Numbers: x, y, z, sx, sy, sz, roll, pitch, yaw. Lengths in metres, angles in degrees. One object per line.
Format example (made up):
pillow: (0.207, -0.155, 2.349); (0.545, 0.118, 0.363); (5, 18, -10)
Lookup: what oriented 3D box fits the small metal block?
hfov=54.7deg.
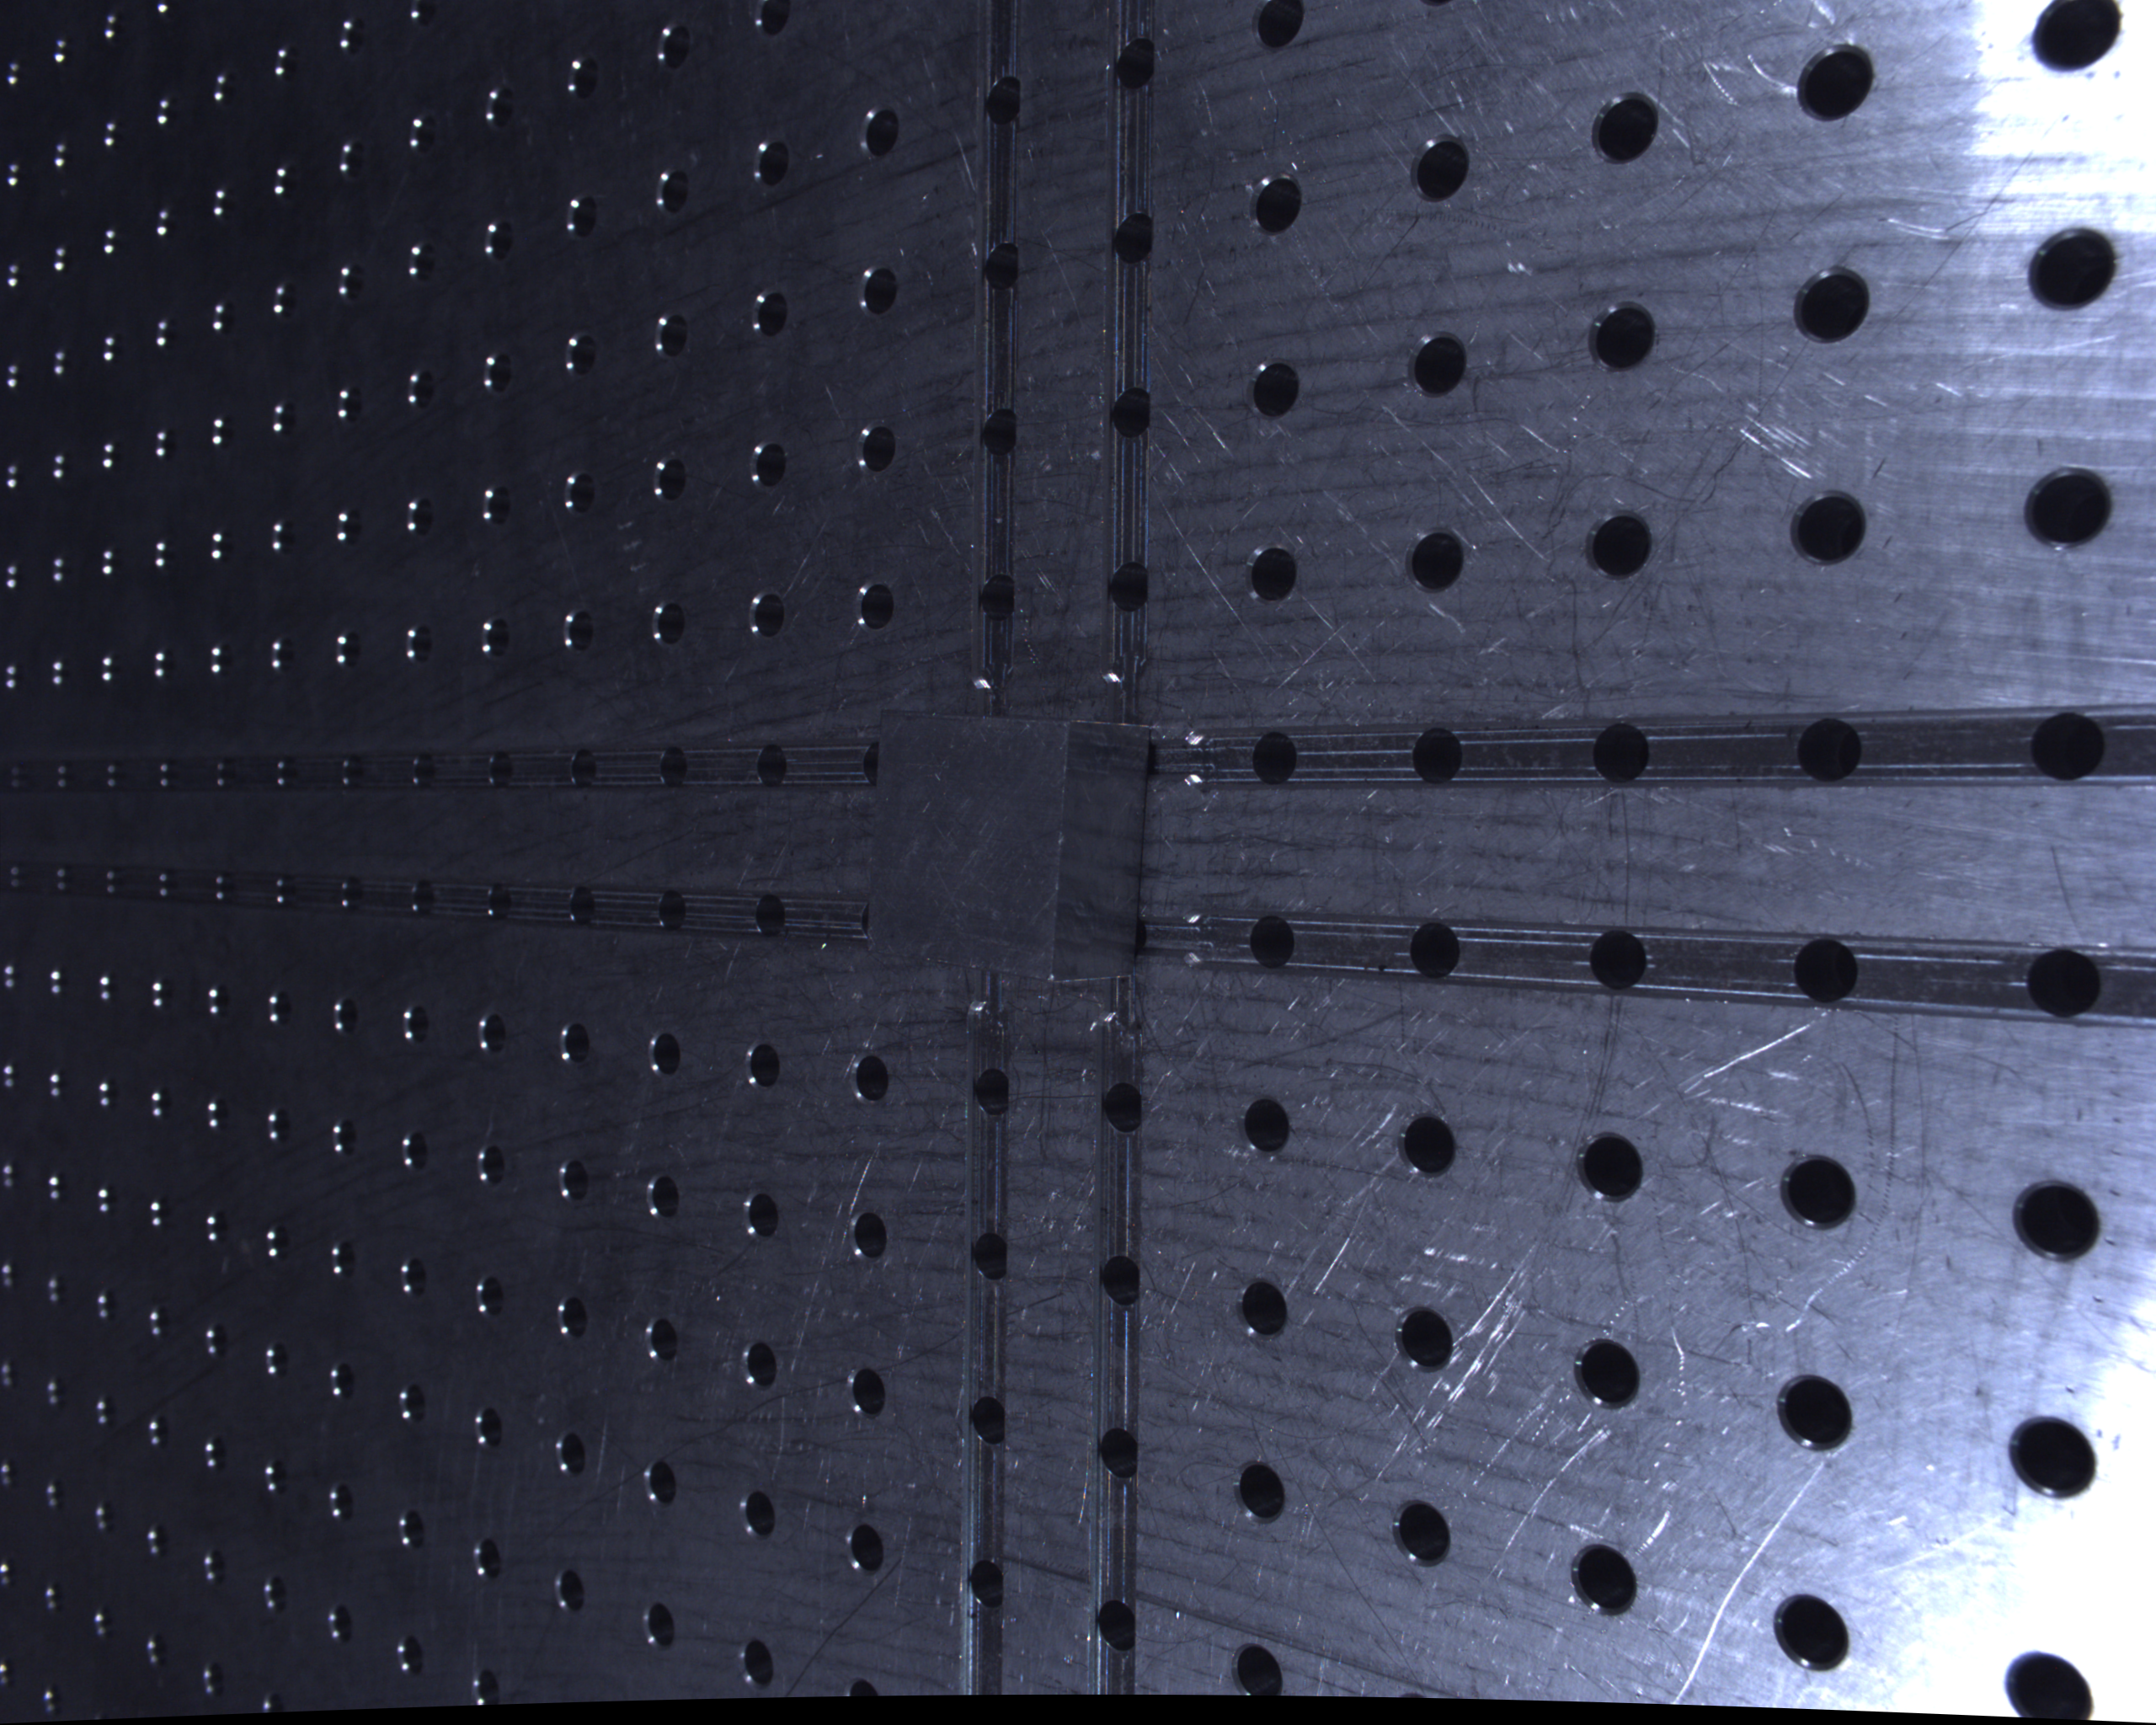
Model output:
small metal block: (-0.015, -0.004, 0.419); (0.050, 0.025, 0.050); (7, 94, 39)
